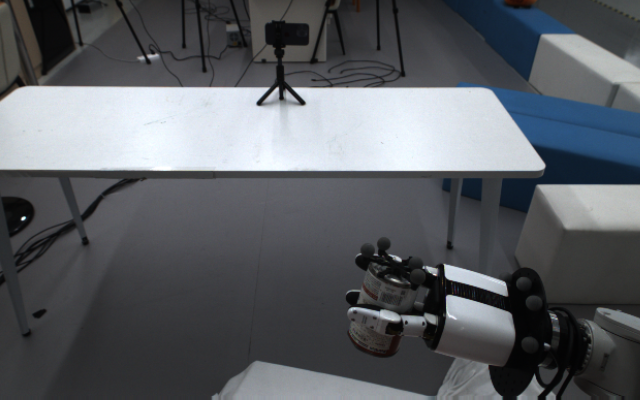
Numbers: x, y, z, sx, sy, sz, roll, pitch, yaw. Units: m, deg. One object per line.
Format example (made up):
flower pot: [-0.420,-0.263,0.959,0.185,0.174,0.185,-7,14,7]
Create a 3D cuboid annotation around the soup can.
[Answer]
soup can: [0.082,0.130,0.597,0.067,0.101,0.067,13,18,-4]
